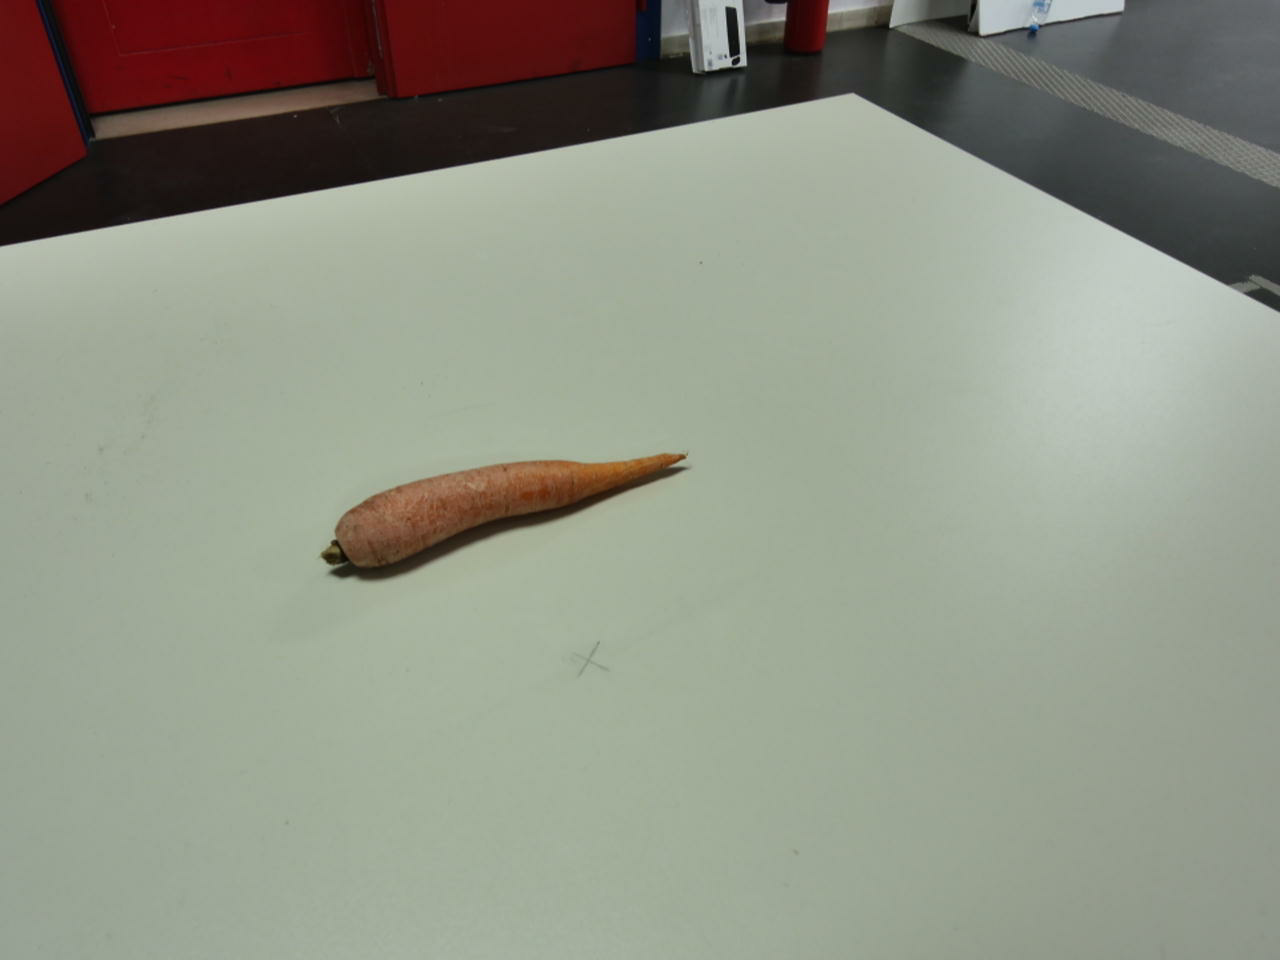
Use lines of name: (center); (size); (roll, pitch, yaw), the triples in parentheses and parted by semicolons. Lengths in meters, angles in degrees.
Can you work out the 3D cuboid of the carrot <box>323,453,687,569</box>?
carrot: (-0.056, 0.005, 0.434); (0.163, 0.029, 0.031); (-17, 41, -21)
